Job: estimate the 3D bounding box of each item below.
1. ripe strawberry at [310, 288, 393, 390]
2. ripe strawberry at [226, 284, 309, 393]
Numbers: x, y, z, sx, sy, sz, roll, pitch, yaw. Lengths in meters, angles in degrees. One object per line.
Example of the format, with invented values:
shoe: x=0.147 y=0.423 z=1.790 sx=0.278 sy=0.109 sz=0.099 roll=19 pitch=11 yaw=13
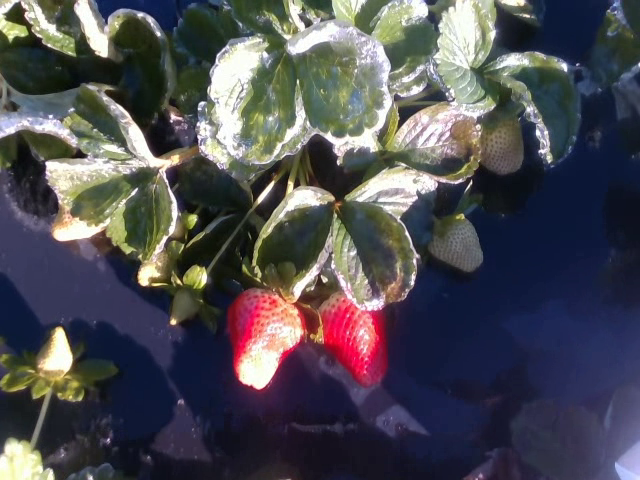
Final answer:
ripe strawberry: x=0.022 y=0.058 z=0.376 sx=0.043 sy=0.059 sz=0.040 roll=-31 pitch=2 yaw=-6
ripe strawberry: x=-0.032 y=0.063 z=0.377 sx=0.052 sy=0.070 sz=0.040 roll=16 pitch=-7 yaw=-16
